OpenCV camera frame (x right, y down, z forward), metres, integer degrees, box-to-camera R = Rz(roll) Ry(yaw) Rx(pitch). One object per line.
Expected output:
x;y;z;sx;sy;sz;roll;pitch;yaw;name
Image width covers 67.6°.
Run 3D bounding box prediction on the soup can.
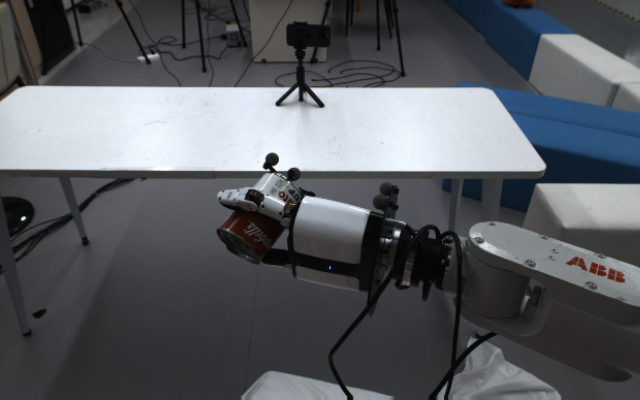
-0.073;0.021;0.614;0.067;0.067;0.101;23;60;27;soup can
